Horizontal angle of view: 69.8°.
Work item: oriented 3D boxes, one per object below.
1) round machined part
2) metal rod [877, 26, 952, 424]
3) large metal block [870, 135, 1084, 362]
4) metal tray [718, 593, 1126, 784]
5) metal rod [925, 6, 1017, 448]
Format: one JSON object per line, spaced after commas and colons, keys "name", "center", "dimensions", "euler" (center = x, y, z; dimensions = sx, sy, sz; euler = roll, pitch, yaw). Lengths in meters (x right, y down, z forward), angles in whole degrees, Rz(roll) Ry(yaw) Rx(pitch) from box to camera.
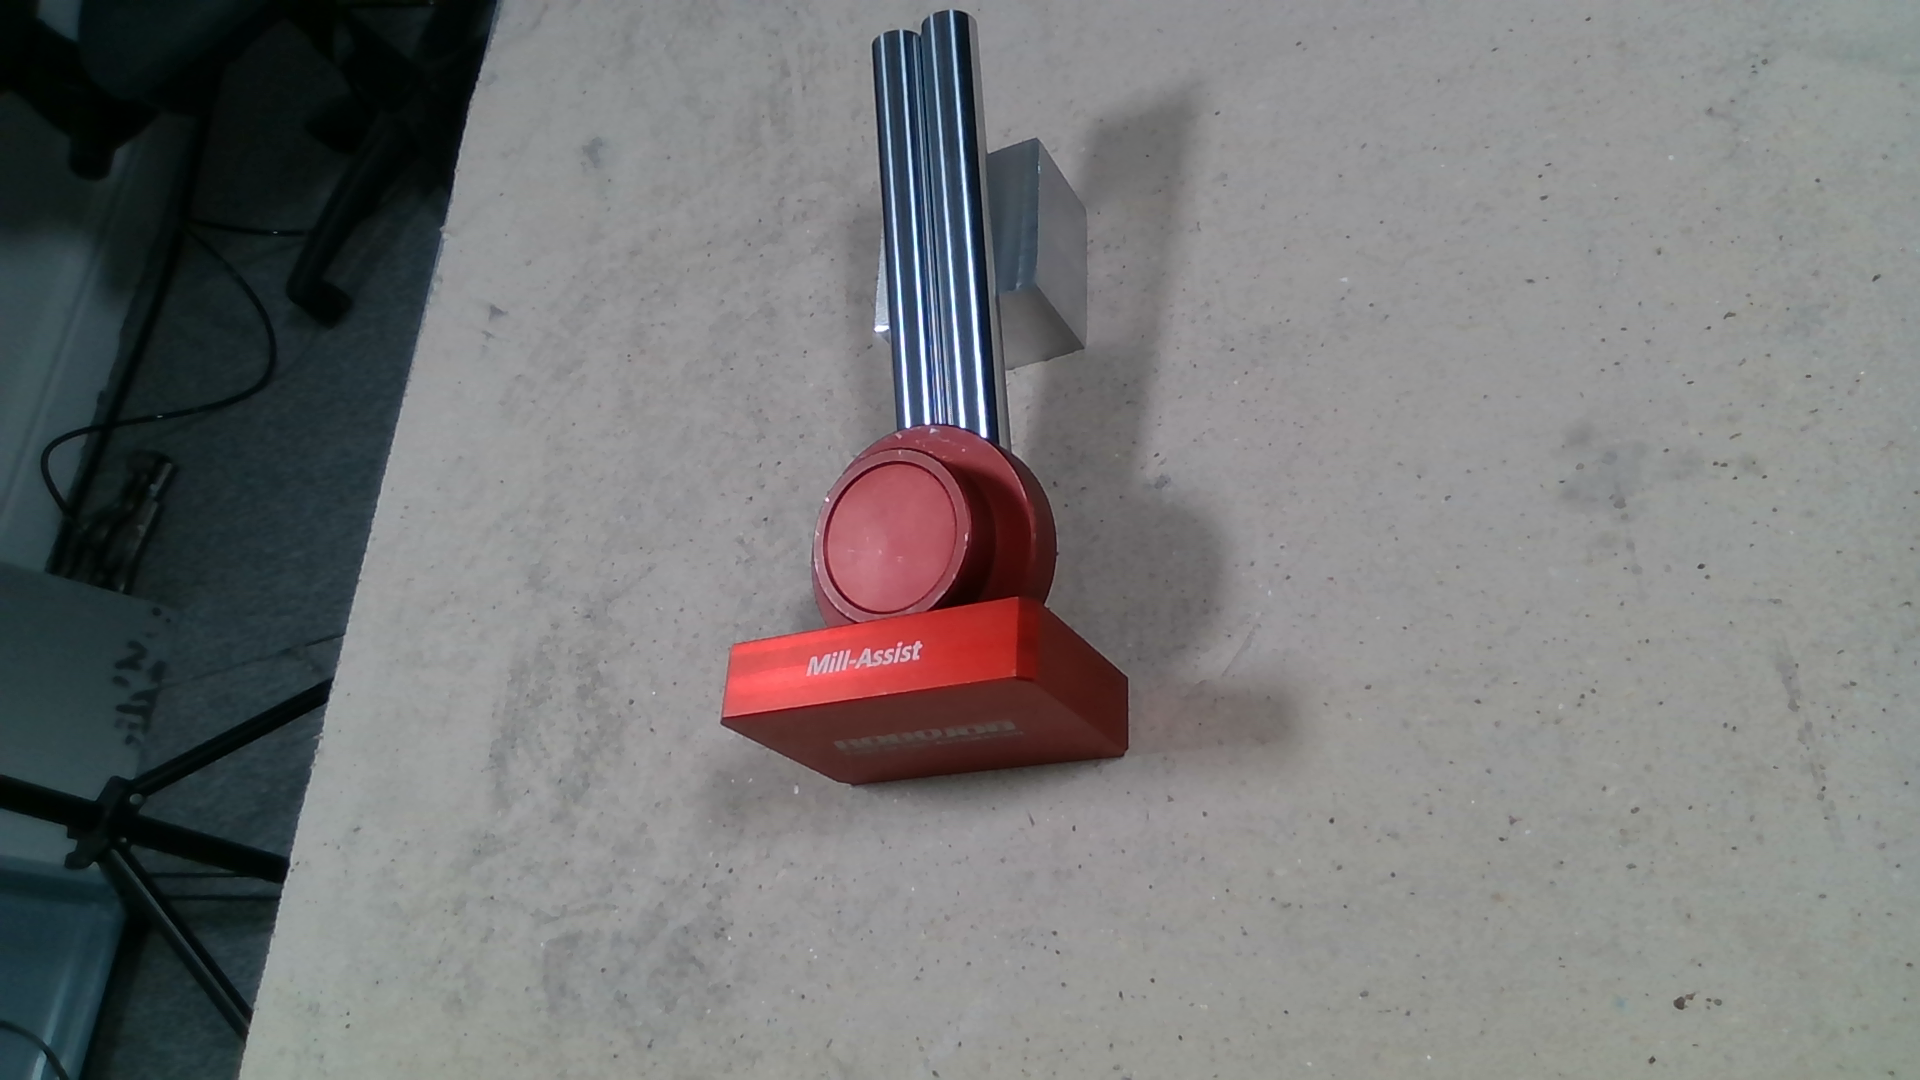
{"name": "round machined part", "center": [-0.017, 0.002, 0.521], "dimensions": [0.098, 0.042, 0.098], "euler": [-9, 72, 29]}
{"name": "metal rod", "center": [-0.016, -0.080, 0.580], "dimensions": [0.025, 0.025, 0.299], "euler": [-11, 73, 26]}
{"name": "large metal block", "center": [0.009, -0.125, 0.625], "dimensions": [0.080, 0.050, 0.080], "euler": [-11, 60, 27]}
{"name": "metal tray", "center": [-0.013, 0.060, 0.519], "dimensions": [0.130, 0.090, 0.030], "euler": [-11, 60, 27]}
{"name": "metal rod", "center": [0.007, -0.084, 0.568], "dimensions": [0.025, 0.025, 0.299], "euler": [-12, 73, 26]}
